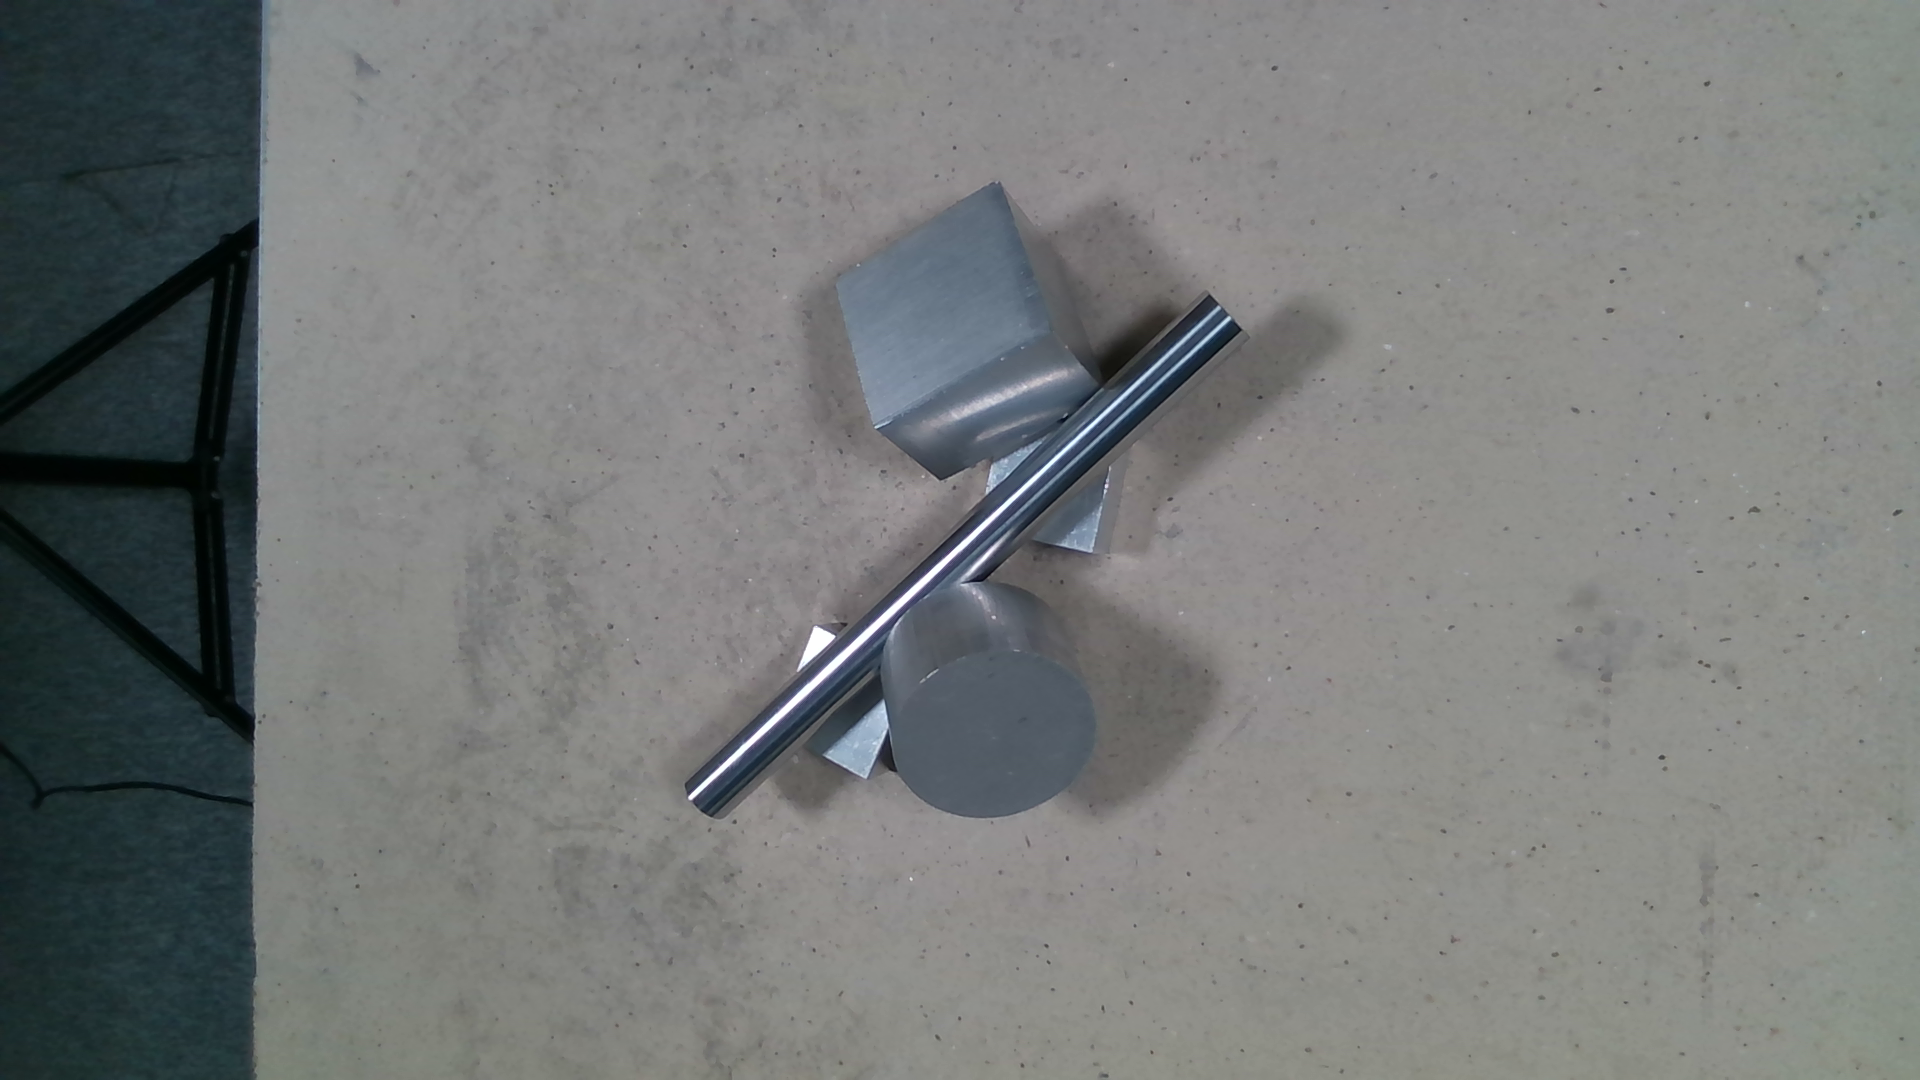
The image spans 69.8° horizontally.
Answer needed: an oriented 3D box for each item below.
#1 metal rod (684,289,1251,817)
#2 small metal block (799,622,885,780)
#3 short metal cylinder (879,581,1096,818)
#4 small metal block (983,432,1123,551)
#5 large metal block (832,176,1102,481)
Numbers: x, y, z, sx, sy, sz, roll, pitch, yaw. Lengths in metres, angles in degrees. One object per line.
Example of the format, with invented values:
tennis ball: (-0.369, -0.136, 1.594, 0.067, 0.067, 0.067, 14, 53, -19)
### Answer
metal rod: (-0.005, 0.012, 0.561, 0.300, 0.025, 0.025, -43, 77, 16)
small metal block: (-0.047, 0.069, 0.604, 0.050, 0.025, 0.050, 26, 99, 18)
short metal cylinder: (0.009, 0.063, 0.548, 0.080, 0.050, 0.080, -4, 120, -7)
small metal block: (0.039, -0.025, 0.571, 0.050, 0.025, 0.050, 13, 95, 20)
large metal block: (0.003, -0.084, 0.553, 0.080, 0.050, 0.080, -27, 58, 19)
